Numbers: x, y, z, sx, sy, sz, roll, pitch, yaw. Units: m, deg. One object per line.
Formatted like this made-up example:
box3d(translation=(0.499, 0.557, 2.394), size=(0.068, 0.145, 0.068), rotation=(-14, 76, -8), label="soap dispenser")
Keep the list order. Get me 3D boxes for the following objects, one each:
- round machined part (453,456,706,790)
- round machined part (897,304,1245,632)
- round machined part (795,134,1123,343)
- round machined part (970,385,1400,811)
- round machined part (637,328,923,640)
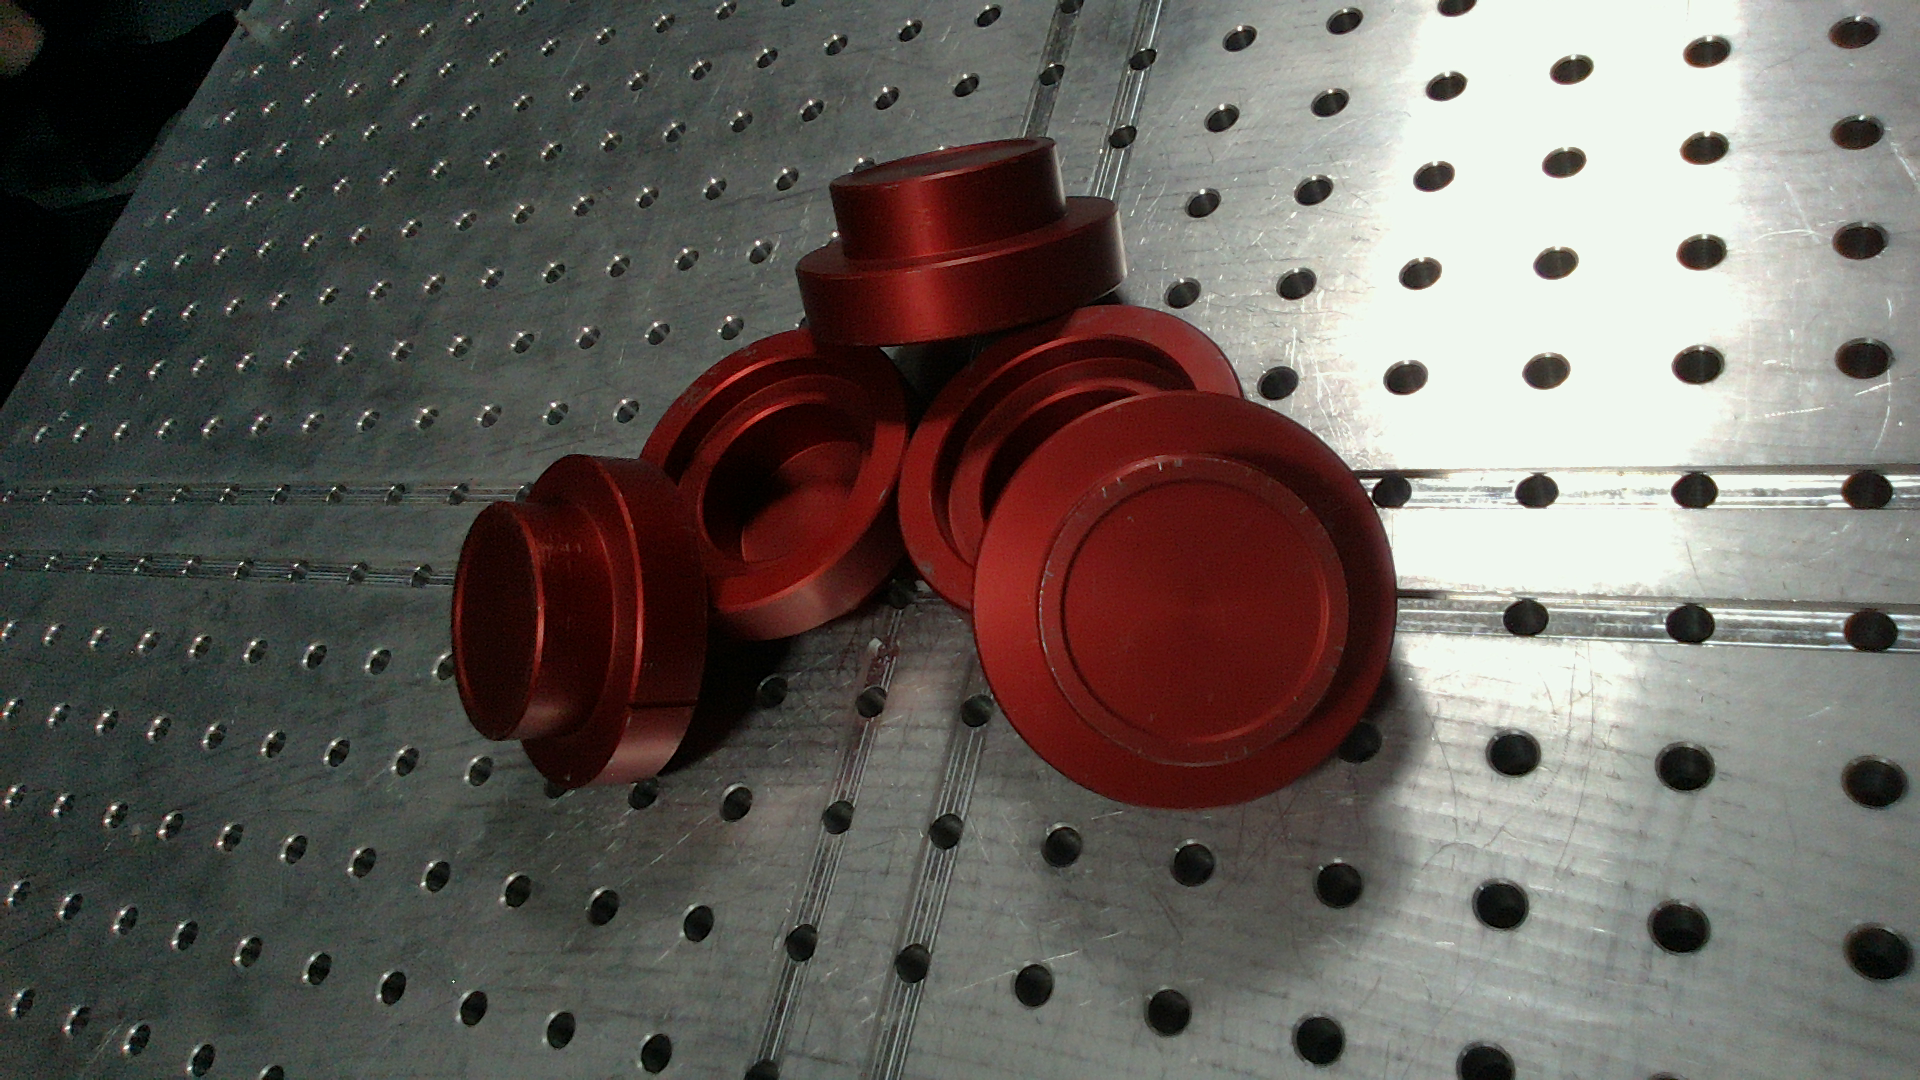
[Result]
box3d(translation=(-0.117, 0.024, 0.404), size=(0.098, 0.042, 0.098), rotation=(-3, 86, 51), label="round machined part")
box3d(translation=(0.036, -0.012, 0.374), size=(0.098, 0.042, 0.098), rotation=(-13, 56, 21), label="round machined part")
box3d(translation=(-0.002, -0.093, 0.411), size=(0.098, 0.042, 0.098), rotation=(-10, 21, 4), label="round machined part")
box3d(translation=(0.051, 0.013, 0.315), size=(0.098, 0.042, 0.098), rotation=(0, 91, 3), label="round machined part")
box3d(translation=(-0.051, -0.014, 0.421), size=(0.098, 0.042, 0.098), rotation=(-13, 56, 21), label="round machined part")
